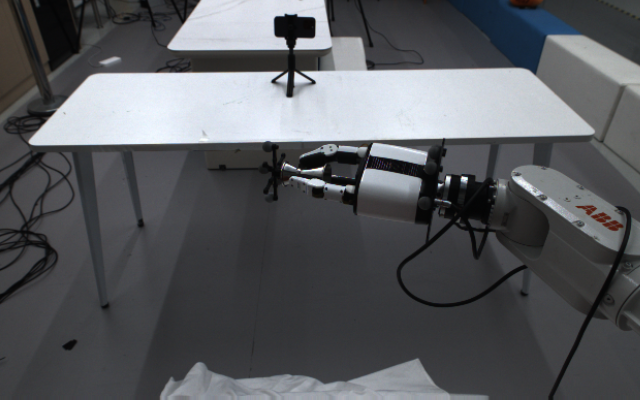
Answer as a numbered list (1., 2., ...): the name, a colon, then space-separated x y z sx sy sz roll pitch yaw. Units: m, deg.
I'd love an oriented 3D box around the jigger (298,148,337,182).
1. jigger: -0.015 -0.040 0.733 0.071 0.043 0.043 5 34 17
